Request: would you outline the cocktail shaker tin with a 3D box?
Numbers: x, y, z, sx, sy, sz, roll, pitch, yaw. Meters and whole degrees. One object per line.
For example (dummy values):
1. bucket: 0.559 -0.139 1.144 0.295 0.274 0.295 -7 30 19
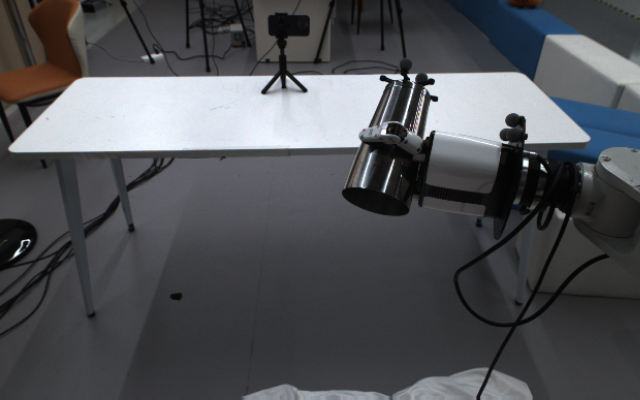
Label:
1. cocktail shaker tin: 0.099 -0.073 0.659 0.093 0.093 0.170 14 73 16
